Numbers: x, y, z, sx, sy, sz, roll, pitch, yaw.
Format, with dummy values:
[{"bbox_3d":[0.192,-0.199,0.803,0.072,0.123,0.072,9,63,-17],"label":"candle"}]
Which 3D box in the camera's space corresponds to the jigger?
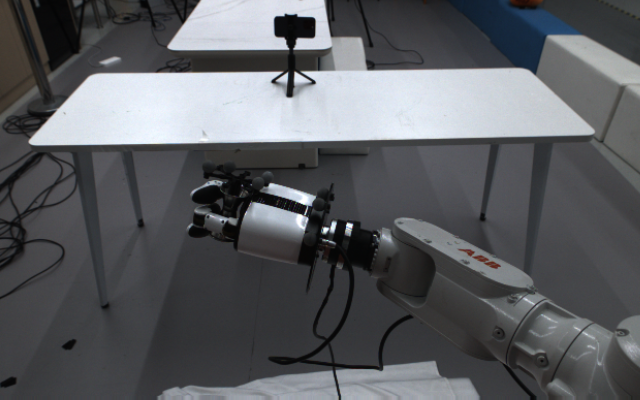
[{"bbox_3d":[-0.123,0.018,0.671,0.043,0.071,0.043,15,17,-5],"label":"jigger"}]
